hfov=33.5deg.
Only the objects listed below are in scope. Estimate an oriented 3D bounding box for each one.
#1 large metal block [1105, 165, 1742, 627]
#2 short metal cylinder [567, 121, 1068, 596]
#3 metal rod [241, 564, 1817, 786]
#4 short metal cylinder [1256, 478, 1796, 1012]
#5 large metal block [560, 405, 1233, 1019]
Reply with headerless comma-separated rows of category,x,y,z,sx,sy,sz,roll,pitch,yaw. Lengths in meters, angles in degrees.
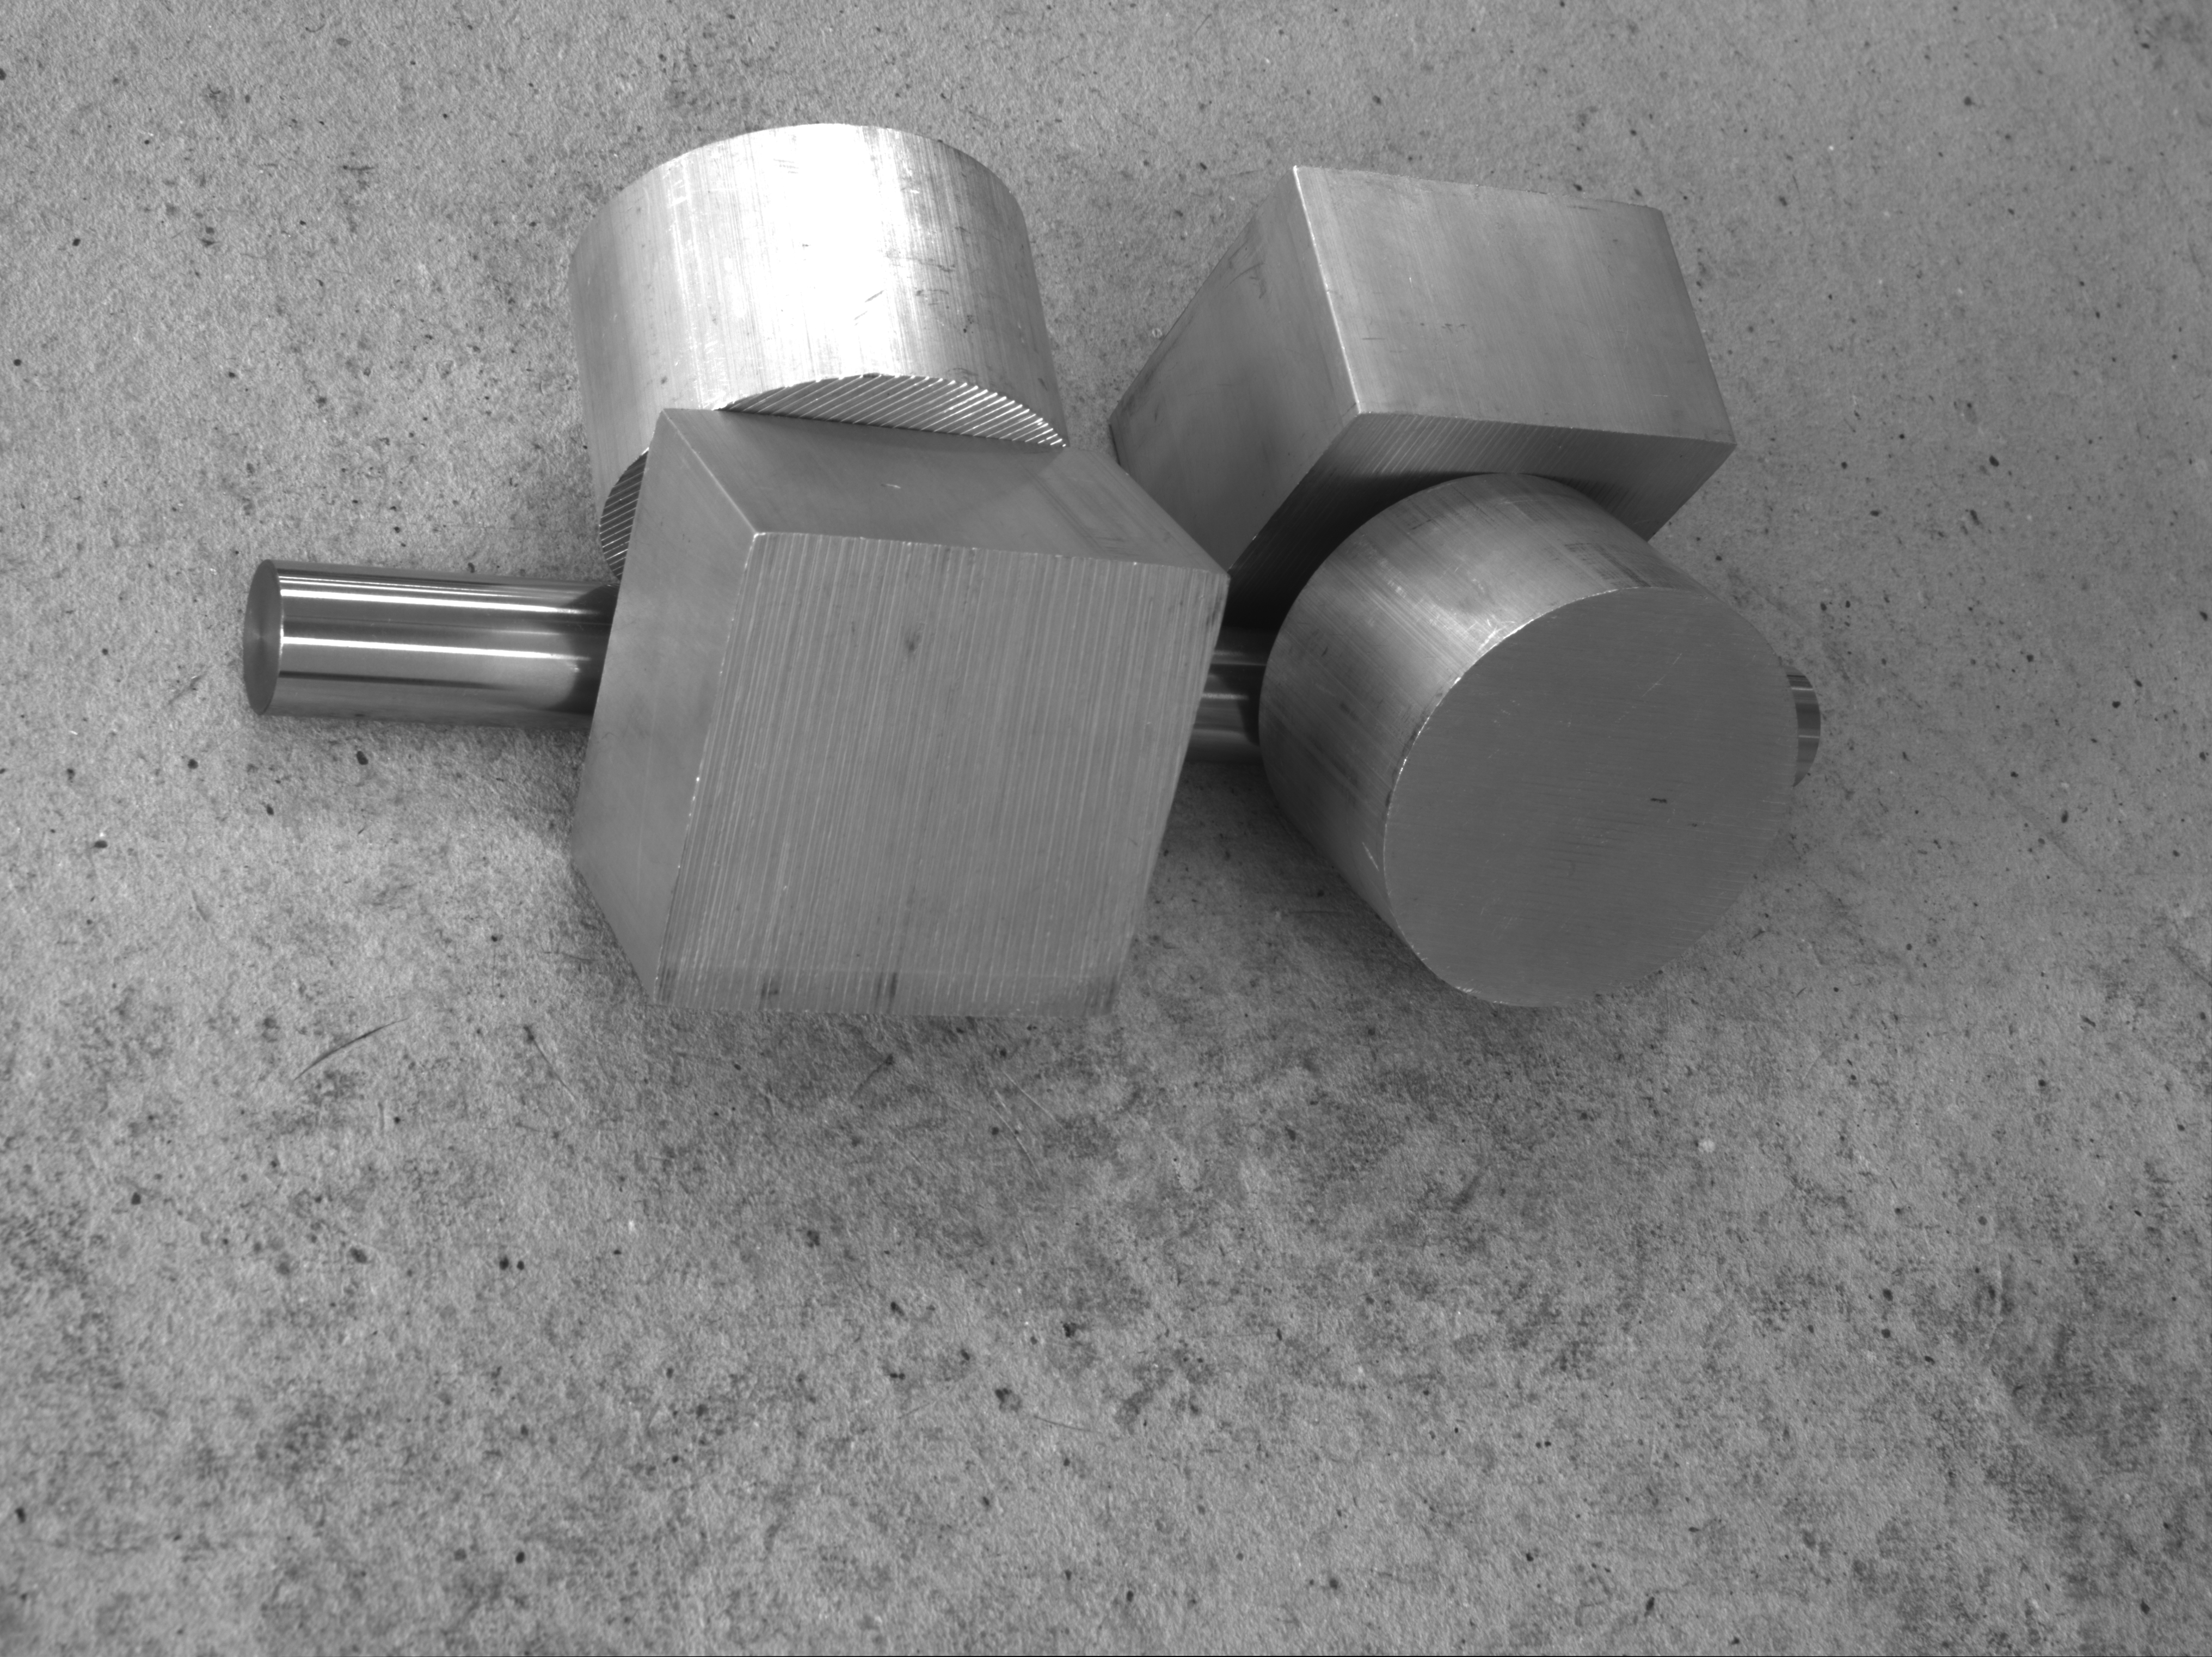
large metal block,0.057,-0.074,0.679,0.080,0.080,0.050,2,61,-27
short metal cylinder,-0.049,-0.075,0.623,0.080,0.080,0.050,3,60,-26
metal rod,-0.001,-0.024,0.656,0.301,0.025,0.025,2,60,-27
short metal cylinder,0.073,-0.015,0.645,0.080,0.080,0.050,2,26,-27
large metal block,-0.035,-0.018,0.589,0.080,0.080,0.050,3,26,-27
